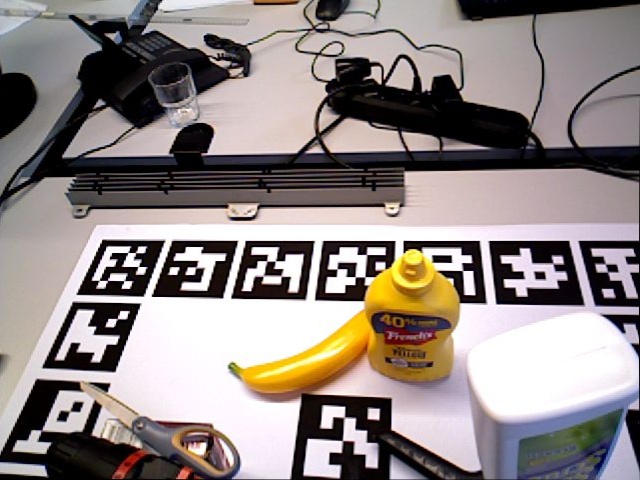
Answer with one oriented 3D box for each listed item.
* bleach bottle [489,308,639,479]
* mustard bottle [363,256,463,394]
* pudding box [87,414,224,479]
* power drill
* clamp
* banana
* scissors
[{"bbox_3d":[0.178,0.157,0.399,0.102,0.254,0.067,-17,44,2],"label":"bleach bottle"},{"bbox_3d":[0.091,0.083,0.542,0.096,0.195,0.057,13,51,17],"label":"mustard bottle"},{"bbox_3d":[-0.157,0.214,0.533,0.114,0.092,0.038,4,43,12],"label":"pudding box"},{"bbox_3d":[-0.116,0.226,0.411,0.185,0.191,0.056,10,44,20],"label":"power drill"},{"bbox_3d":[0.152,0.239,0.475,0.202,0.037,0.162,-4,51,4],"label":"clamp"},{"bbox_3d":[-0.007,0.115,0.619,0.194,0.039,0.074,-30,34,-15],"label":"banana"},{"bbox_3d":[-0.172,0.165,0.490,0.203,0.016,0.086,24,61,21],"label":"scissors"}]
